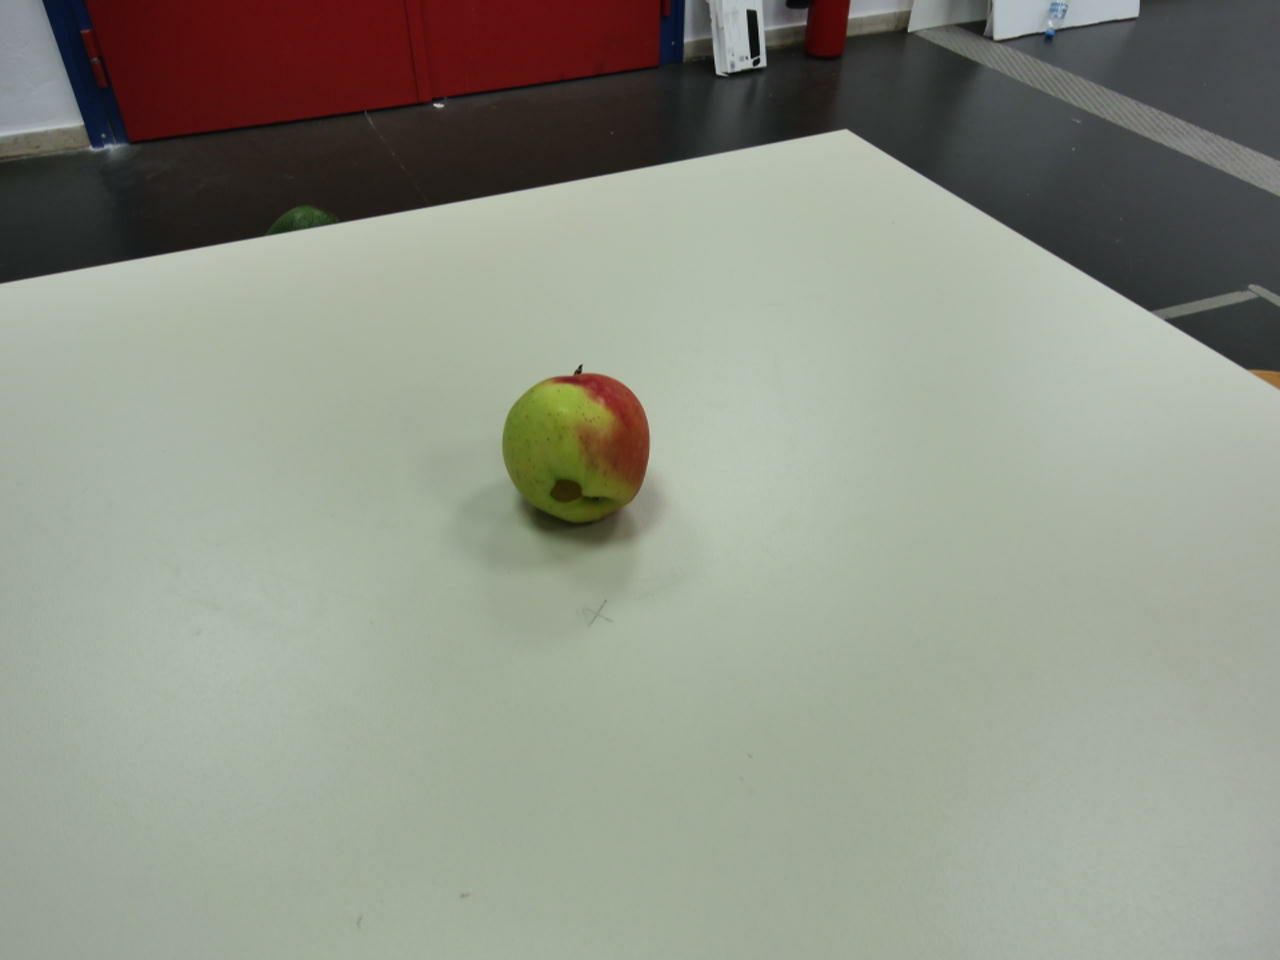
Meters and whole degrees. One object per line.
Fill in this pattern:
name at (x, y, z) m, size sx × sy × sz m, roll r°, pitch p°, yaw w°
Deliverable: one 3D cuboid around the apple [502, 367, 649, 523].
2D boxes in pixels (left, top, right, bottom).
apple at (-0.030, -0.018, 0.503) m, size 0.075 × 0.074 × 0.075 m, roll -31°, pitch 48°, yaw -34°
